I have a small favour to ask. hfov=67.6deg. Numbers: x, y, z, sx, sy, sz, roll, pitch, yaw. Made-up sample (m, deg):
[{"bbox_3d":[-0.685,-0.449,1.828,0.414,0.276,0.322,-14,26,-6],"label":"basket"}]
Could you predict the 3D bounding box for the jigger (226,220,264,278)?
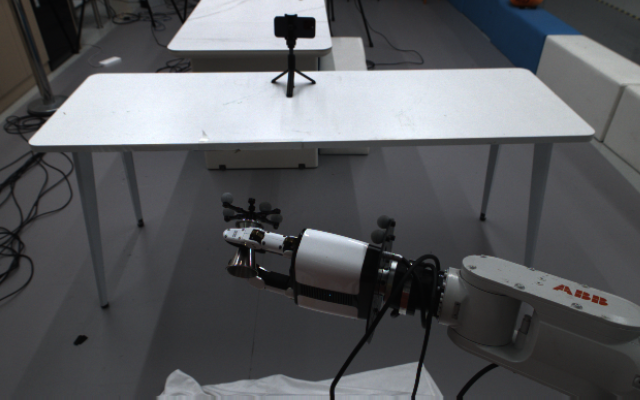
[{"bbox_3d":[-0.100,0.063,0.647,0.043,0.043,0.071,4,60,3],"label":"jigger"}]
